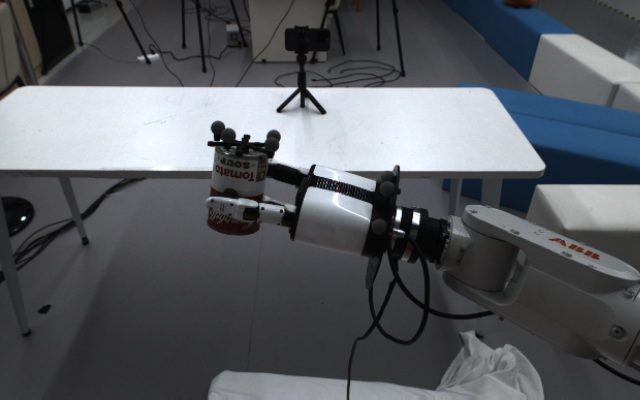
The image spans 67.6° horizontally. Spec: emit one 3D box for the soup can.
[{"bbox_3d":[-0.101,-0.014,0.604,0.067,0.101,0.067,9,20,-3],"label":"soup can"}]
